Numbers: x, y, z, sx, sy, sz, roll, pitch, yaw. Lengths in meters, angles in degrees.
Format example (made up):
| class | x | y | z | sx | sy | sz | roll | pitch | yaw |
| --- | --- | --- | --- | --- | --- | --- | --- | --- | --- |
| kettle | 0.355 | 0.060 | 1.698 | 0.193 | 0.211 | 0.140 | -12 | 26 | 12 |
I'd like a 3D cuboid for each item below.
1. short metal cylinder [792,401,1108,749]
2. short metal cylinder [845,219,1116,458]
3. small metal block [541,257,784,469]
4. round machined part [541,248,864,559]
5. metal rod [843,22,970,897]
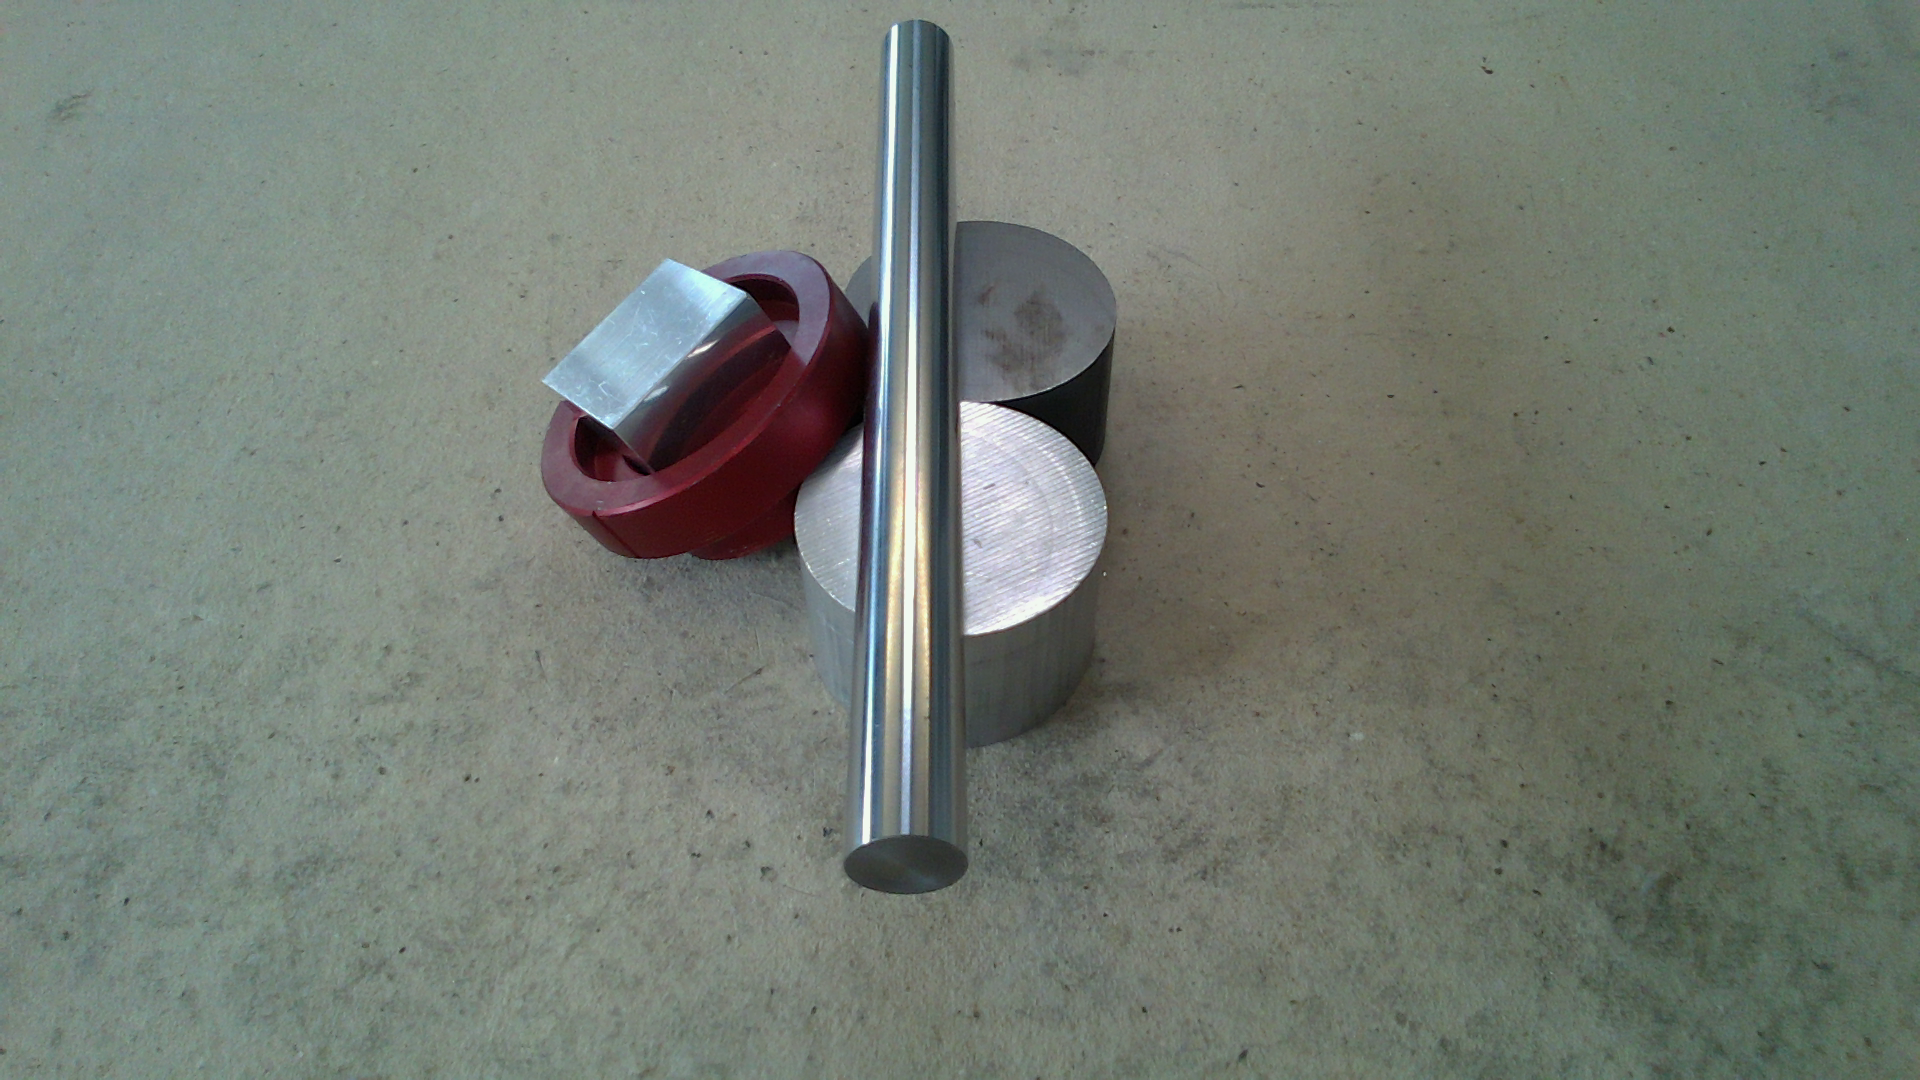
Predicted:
| class | x | y | z | sx | sy | sz | roll | pitch | yaw |
| --- | --- | --- | --- | --- | --- | --- | --- | --- | --- |
| short metal cylinder | -0.002 | 0.008 | 0.368 | 0.080 | 0.050 | 0.080 | 0 | 49 | 0 |
| short metal cylinder | 0.005 | -0.053 | 0.420 | 0.080 | 0.050 | 0.080 | 0 | 50 | 0 |
| small metal block | -0.080 | -0.047 | 0.378 | 0.050 | 0.025 | 0.050 | -48 | 40 | -11 |
| round machined part | -0.067 | -0.034 | 0.392 | 0.098 | 0.042 | 0.098 | -21 | 43 | 21 |
| metal rod | -0.012 | -0.049 | 0.368 | 0.025 | 0.025 | 0.300 | -1 | 50 | 0 |
